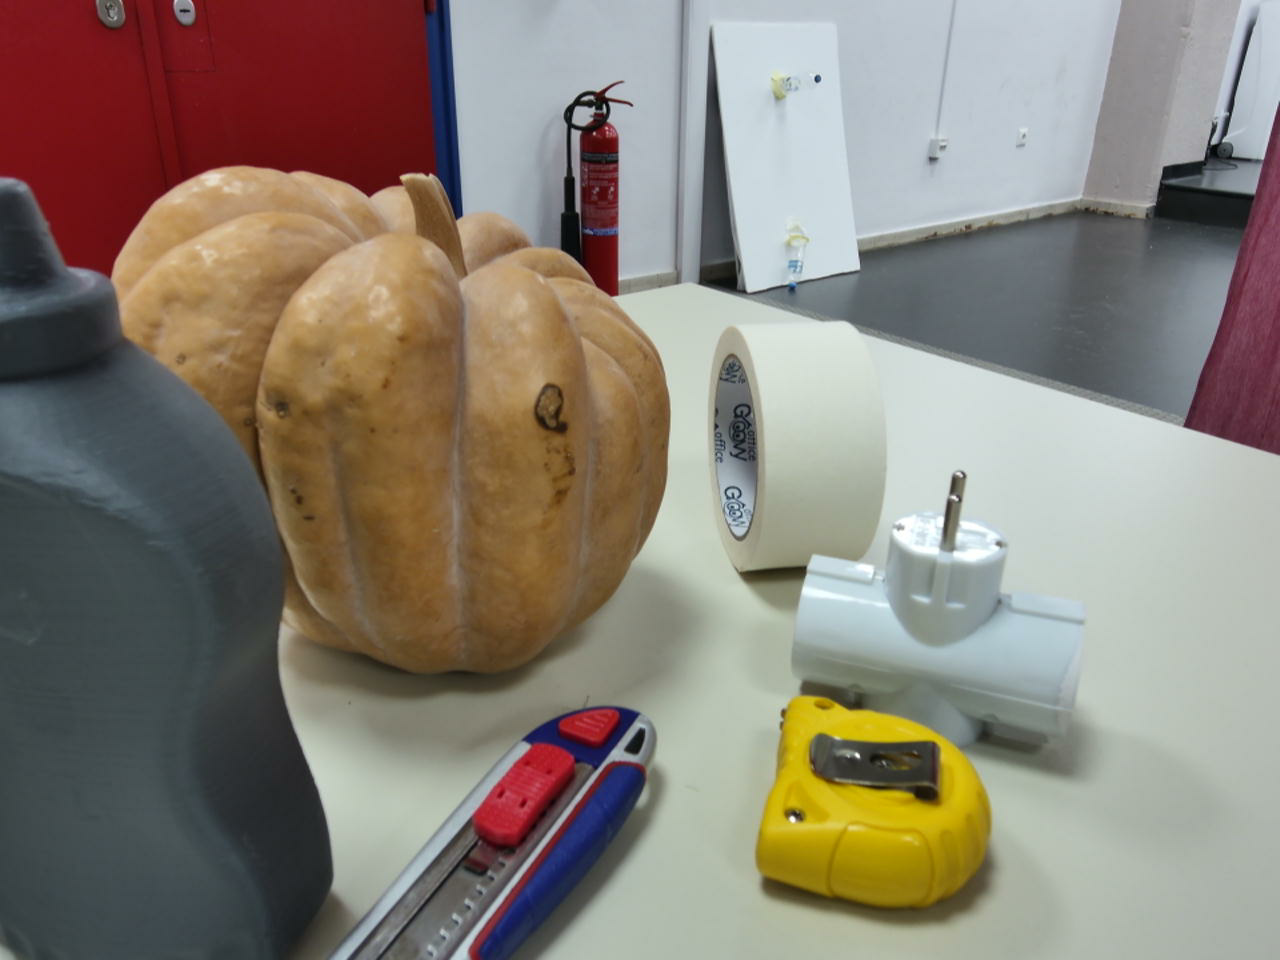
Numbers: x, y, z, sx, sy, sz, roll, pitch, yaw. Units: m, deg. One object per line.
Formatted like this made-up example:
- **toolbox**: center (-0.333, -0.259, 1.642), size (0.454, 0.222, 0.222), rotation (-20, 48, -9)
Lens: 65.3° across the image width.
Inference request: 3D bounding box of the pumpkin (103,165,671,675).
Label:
- **pumpkin**: center (-0.085, -0.023, 0.366), size (0.199, 0.177, 0.198), rotation (1, 24, 0)
